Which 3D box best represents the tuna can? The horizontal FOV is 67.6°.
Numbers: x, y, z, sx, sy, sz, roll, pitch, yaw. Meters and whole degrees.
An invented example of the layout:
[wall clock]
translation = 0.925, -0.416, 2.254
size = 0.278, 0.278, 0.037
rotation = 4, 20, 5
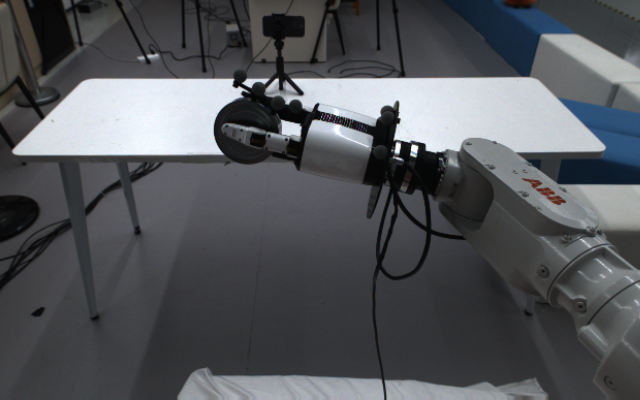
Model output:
[tuna can]
translation = -0.094, -0.092, 0.642
size = 0.085, 0.085, 0.034
rotation = 4, 20, 3
